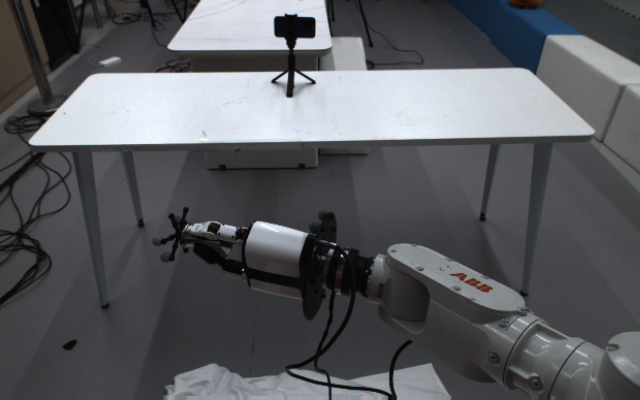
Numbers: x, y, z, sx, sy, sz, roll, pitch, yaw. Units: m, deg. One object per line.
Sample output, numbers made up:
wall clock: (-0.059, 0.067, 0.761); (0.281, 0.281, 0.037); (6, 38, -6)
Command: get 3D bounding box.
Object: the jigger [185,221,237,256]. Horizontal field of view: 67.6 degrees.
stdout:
jigger: (-0.169, 0.057, 0.749); (0.071, 0.043, 0.043); (10, 35, 16)
